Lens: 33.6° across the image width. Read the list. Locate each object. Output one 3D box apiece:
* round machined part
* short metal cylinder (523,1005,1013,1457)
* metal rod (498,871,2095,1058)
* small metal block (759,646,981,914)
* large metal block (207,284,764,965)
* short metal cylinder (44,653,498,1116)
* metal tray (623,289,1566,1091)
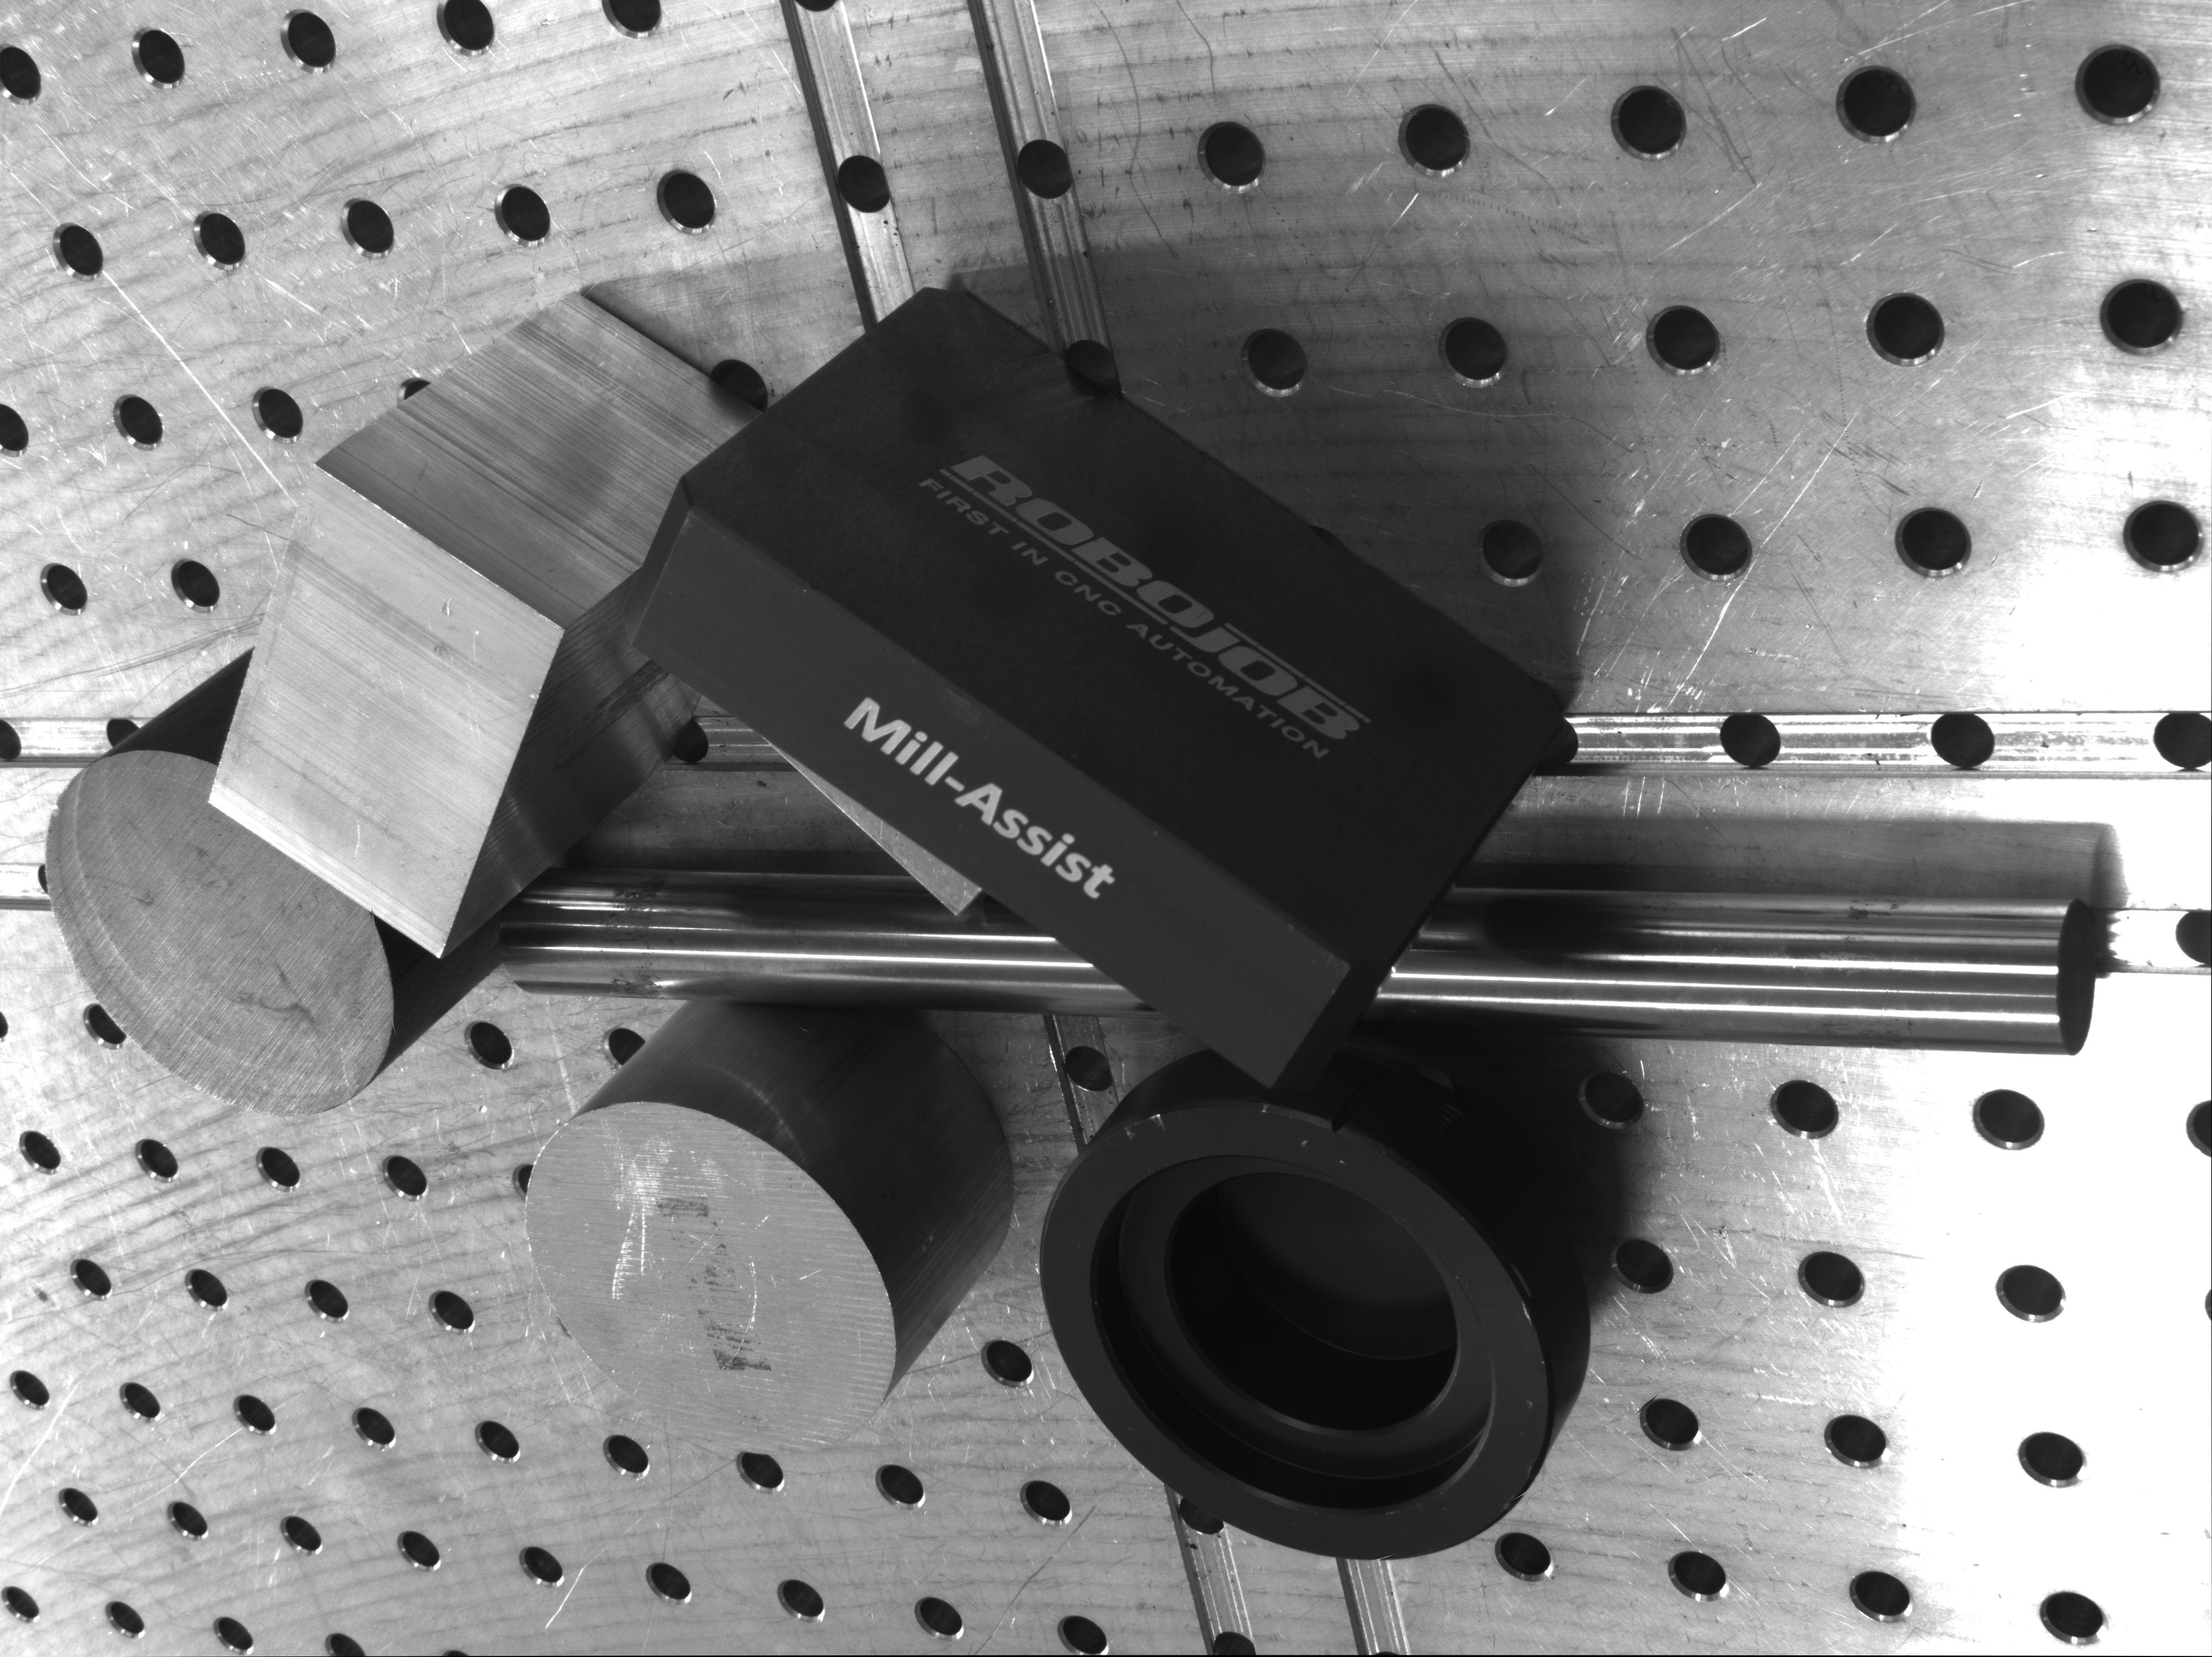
[{"bbox_3d":[0.041,0.080,0.662,0.098,0.042,0.098,13,124,21],"label":"round machined part"},{"bbox_3d":[-0.065,0.074,0.708,0.080,0.050,0.080,13,124,21],"label":"short metal cylinder"},{"bbox_3d":[0.021,0.022,0.648,0.299,0.025,0.025,1,119,28],"label":"metal rod"},{"bbox_3d":[-0.027,-0.022,0.647,0.050,0.025,0.050,43,129,-1],"label":"small metal block"},{"bbox_3d":[-0.105,-0.037,0.644,0.050,0.080,0.080,33,129,6],"label":"large metal block"},{"bbox_3d":[-0.159,0.009,0.720,0.080,0.050,0.080,13,124,21],"label":"short metal cylinder"},{"bbox_3d":[0.000,-0.025,0.587,0.130,0.090,0.030,35,129,5],"label":"metal tray"}]
